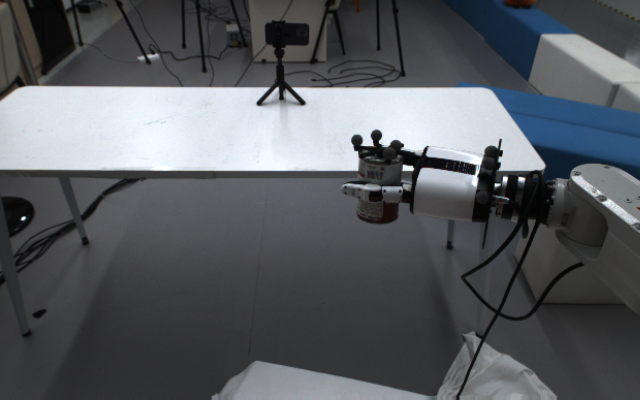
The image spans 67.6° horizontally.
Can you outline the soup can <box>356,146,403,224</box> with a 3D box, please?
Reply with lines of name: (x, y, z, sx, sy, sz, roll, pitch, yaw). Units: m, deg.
soup can: (0.091, -0.023, 0.743, 0.067, 0.101, 0.067, 1, 25, 0)
